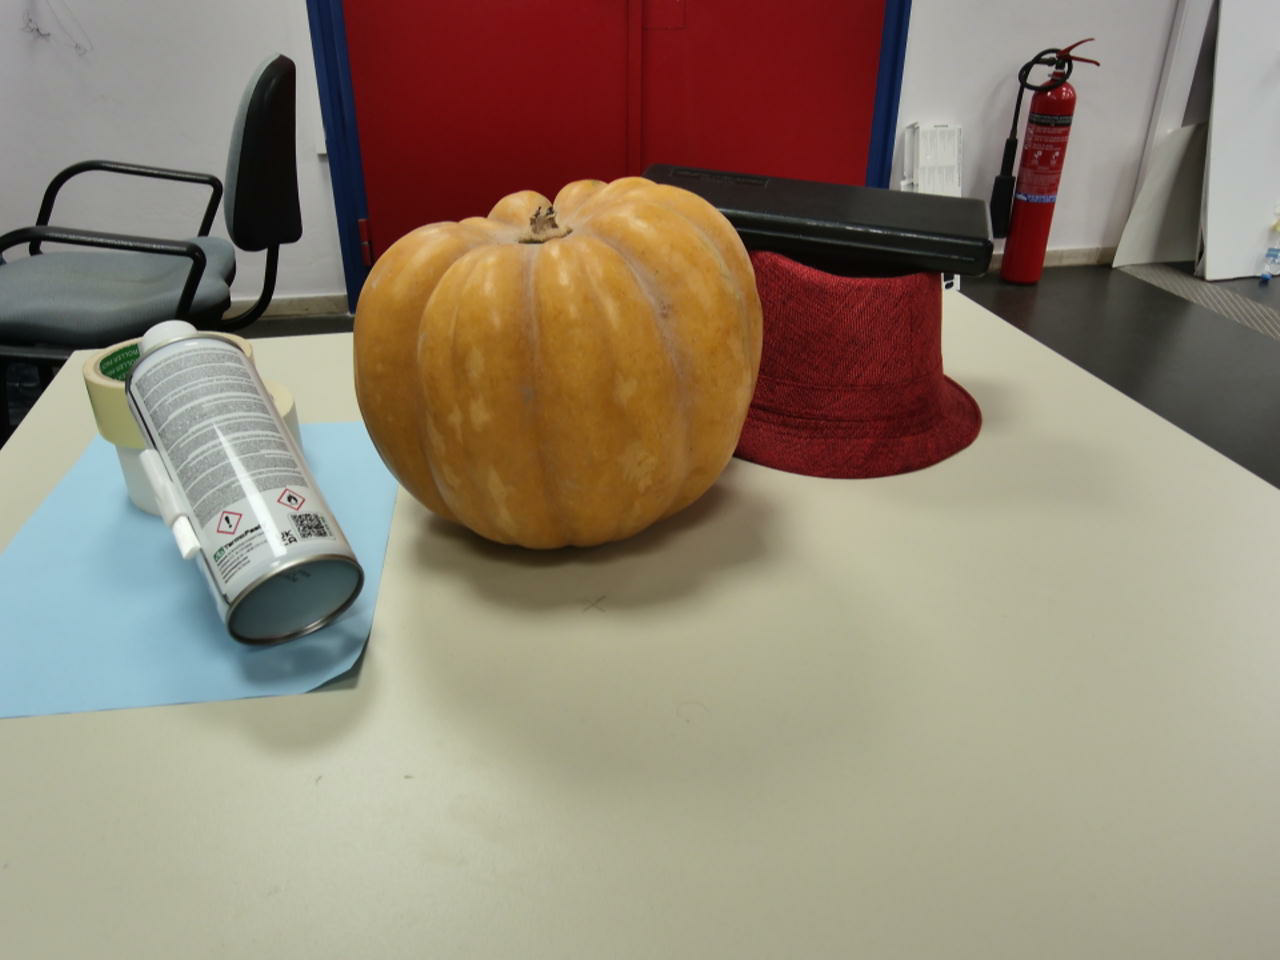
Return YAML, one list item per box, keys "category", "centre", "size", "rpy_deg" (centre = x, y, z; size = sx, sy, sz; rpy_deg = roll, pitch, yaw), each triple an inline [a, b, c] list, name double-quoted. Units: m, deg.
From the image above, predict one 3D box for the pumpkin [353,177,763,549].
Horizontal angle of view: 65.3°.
- category: "pumpkin"
  centre: [-0.042, -0.066, 0.567]
  size: [0.230, 0.194, 0.230]
  rpy_deg: [0, 27, 0]
